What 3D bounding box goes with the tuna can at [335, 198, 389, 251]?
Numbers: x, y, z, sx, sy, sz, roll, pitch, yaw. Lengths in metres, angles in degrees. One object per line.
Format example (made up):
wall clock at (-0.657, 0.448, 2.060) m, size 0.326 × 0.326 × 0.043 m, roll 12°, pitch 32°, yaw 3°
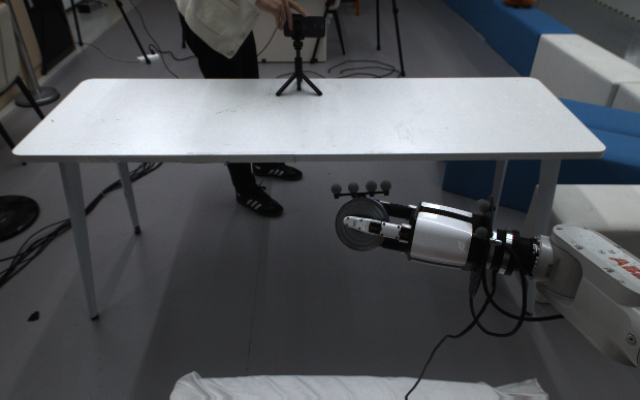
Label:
tuna can at (0.070, 0.038, 0.774) m, size 0.085 × 0.085 × 0.034 m, roll 10°, pitch 2°, yaw 12°
